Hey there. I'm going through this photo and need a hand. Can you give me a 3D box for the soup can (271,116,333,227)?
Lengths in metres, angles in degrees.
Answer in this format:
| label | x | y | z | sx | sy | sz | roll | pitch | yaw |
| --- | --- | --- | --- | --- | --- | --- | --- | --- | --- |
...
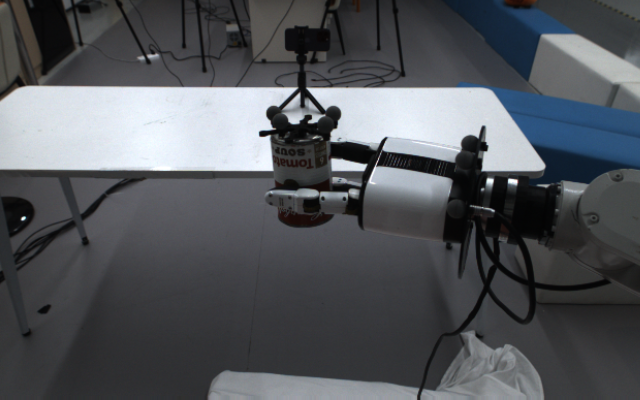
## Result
| label | x | y | z | sx | sy | sz | roll | pitch | yaw |
| --- | --- | --- | --- | --- | --- | --- | --- | --- | --- |
| soup can | -0.018 | -0.030 | 0.553 | 0.067 | 0.101 | 0.067 | -3 | 26 | 2 |
